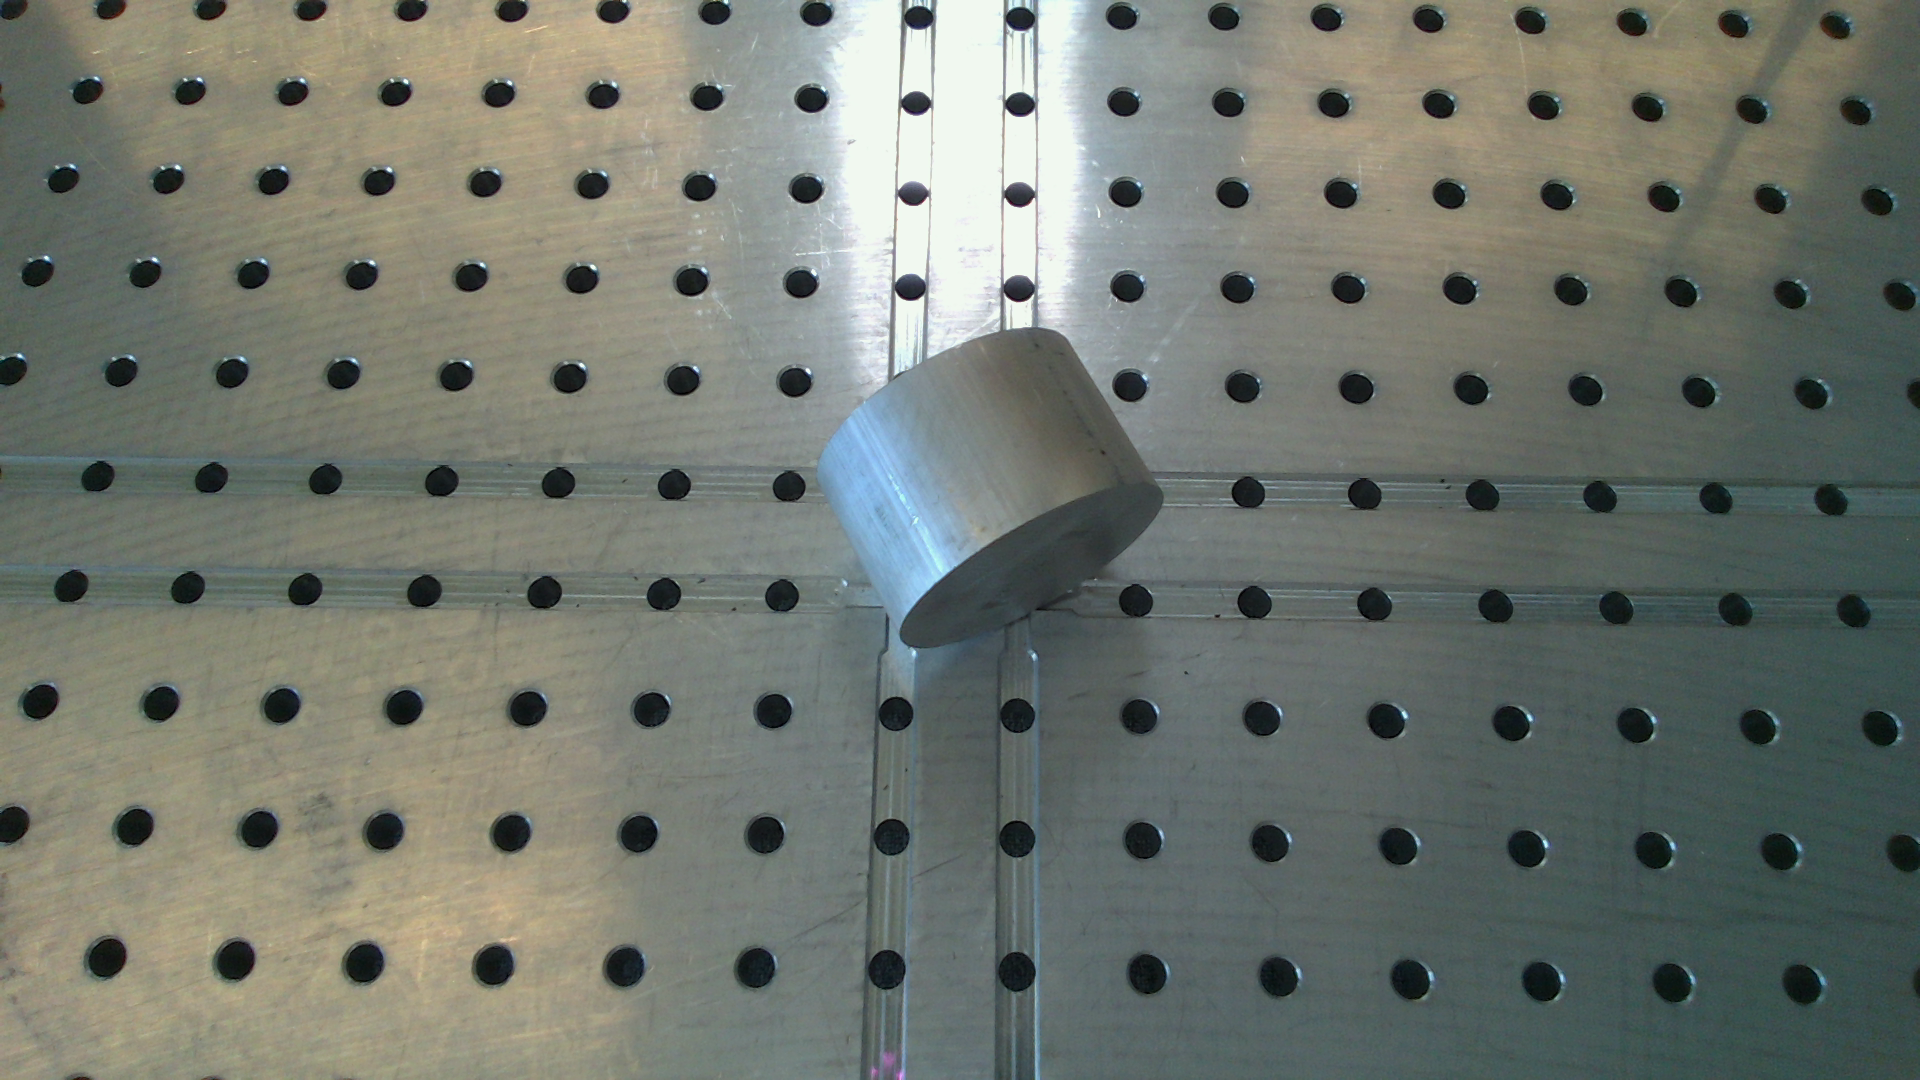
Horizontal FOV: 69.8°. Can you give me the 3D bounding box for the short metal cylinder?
[{"bbox_3d":[0.008,-0.013,0.372,0.080,0.080,0.050,-27,71,-9],"label":"short metal cylinder"}]
